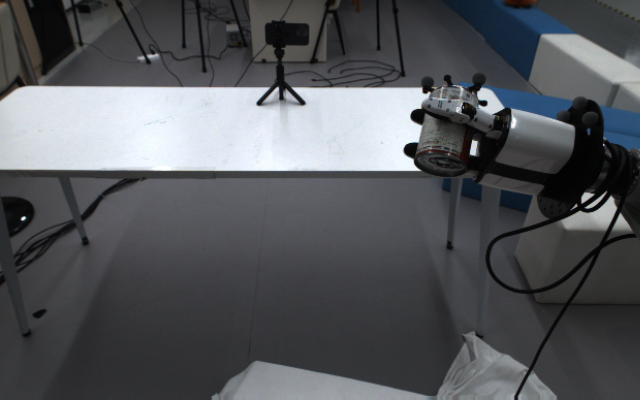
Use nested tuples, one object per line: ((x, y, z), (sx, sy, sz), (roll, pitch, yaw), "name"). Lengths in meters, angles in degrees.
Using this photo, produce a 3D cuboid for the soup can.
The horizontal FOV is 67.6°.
((0.168, -0.092, 0.636), (0.067, 0.067, 0.101), (11, 72, 13), "soup can")
